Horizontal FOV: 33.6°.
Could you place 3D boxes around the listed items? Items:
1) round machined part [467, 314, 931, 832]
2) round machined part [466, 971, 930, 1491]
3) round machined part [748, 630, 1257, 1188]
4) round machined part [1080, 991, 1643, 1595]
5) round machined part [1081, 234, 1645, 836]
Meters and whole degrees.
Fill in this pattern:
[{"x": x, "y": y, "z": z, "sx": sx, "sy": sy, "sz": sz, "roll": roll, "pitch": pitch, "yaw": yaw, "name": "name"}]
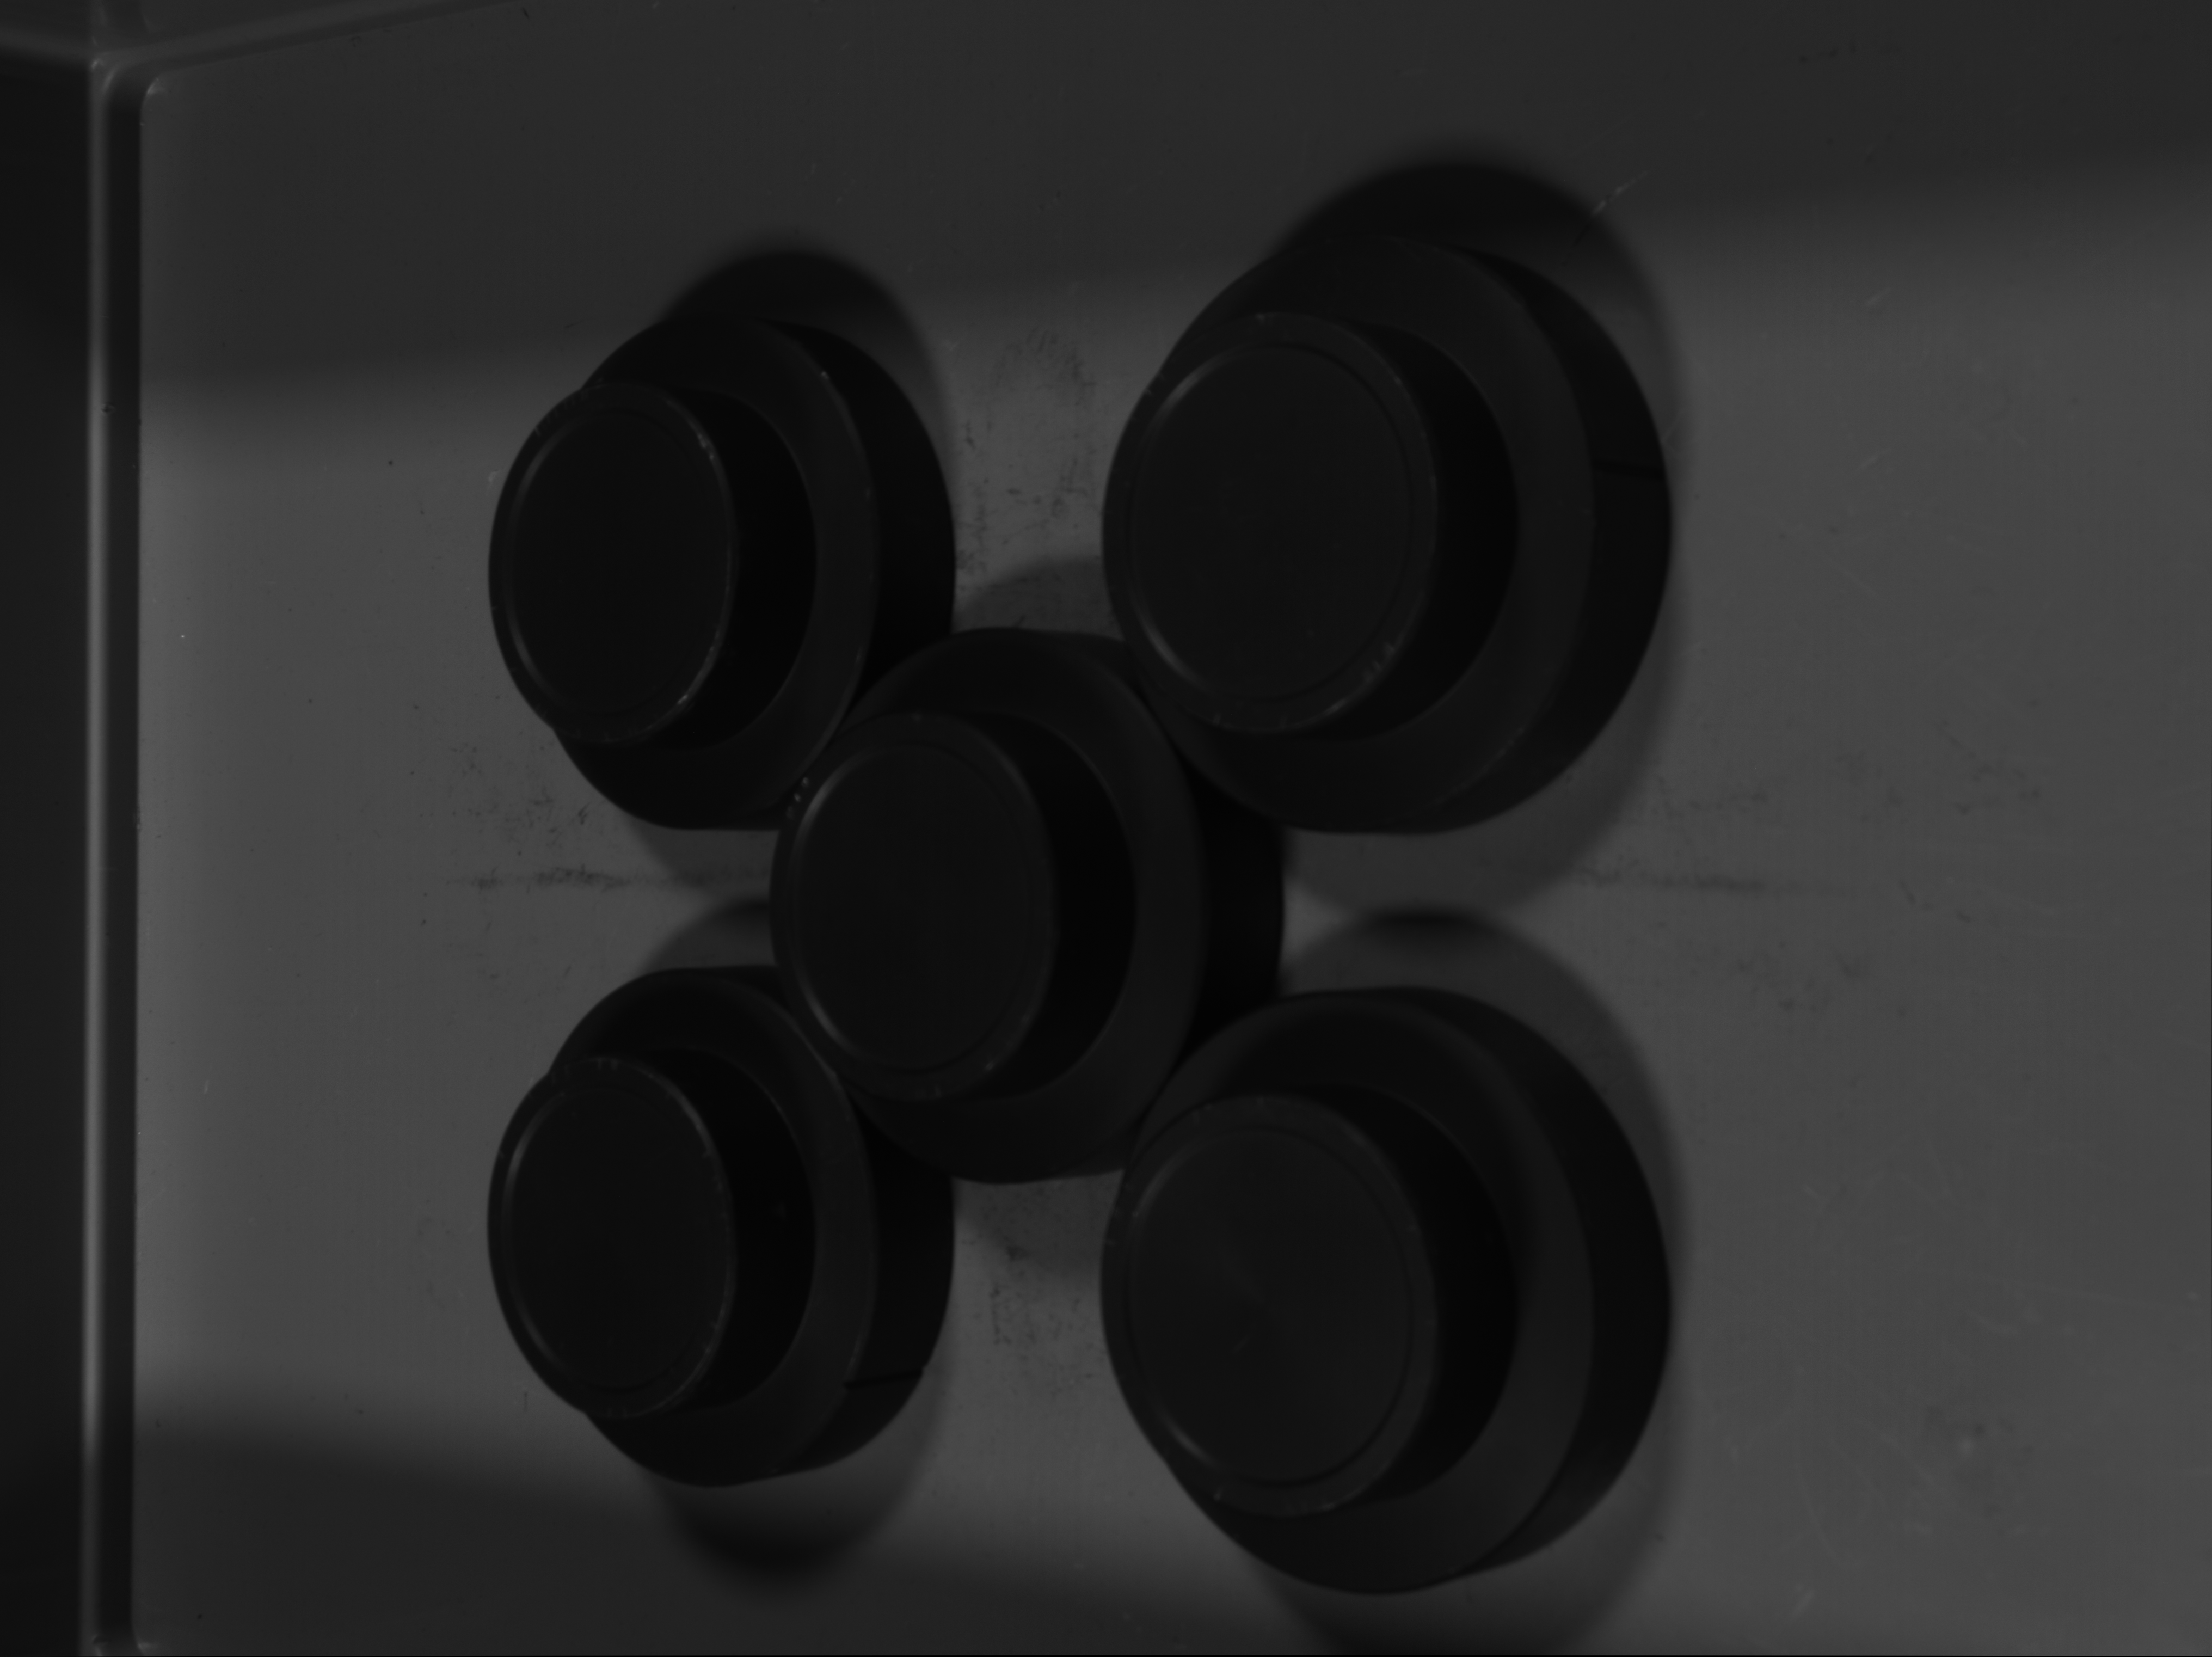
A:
[{"x": -0.083, "y": -0.048, "z": 0.692, "sx": 0.098, "sy": 0.042, "sz": 0.098, "roll": 0, "pitch": 90, "yaw": 39, "name": "round machined part"}, {"x": -0.083, "y": 0.076, "z": 0.692, "sx": 0.098, "sy": 0.042, "sz": 0.098, "roll": 0, "pitch": 90, "yaw": 39, "name": "round machined part"}, {"x": -0.025, "y": 0.014, "z": 0.643, "sx": 0.098, "sy": 0.042, "sz": 0.098, "roll": 0, "pitch": 90, "yaw": 39, "name": "round machined part"}, {"x": 0.035, "y": 0.076, "z": 0.596, "sx": 0.098, "sy": 0.042, "sz": 0.098, "roll": 0, "pitch": 90, "yaw": 39, "name": "round machined part"}, {"x": 0.035, "y": -0.048, "z": 0.596, "sx": 0.098, "sy": 0.042, "sz": 0.098, "roll": 0, "pitch": 90, "yaw": 39, "name": "round machined part"}]
